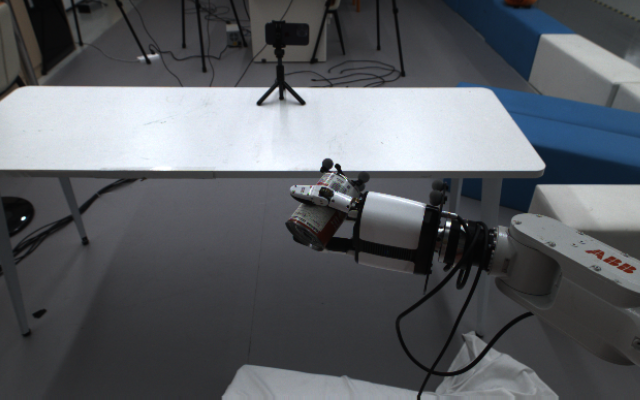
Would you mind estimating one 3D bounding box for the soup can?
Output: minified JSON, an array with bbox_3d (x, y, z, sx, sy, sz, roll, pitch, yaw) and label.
[{"bbox_3d":[0.006,0.016,0.715,0.067,0.067,0.101,25,66,30],"label":"soup can"}]
